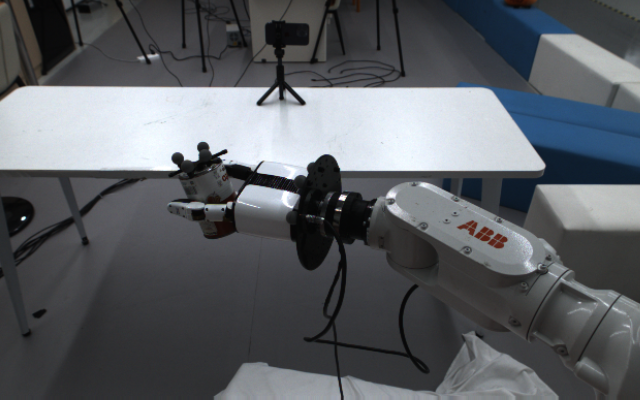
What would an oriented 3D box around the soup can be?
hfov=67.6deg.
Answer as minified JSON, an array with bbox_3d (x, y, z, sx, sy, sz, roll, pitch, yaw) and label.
[{"bbox_3d":[-0.156,-0.001,0.707,0.067,0.101,0.067,-16,23,7],"label":"soup can"}]
